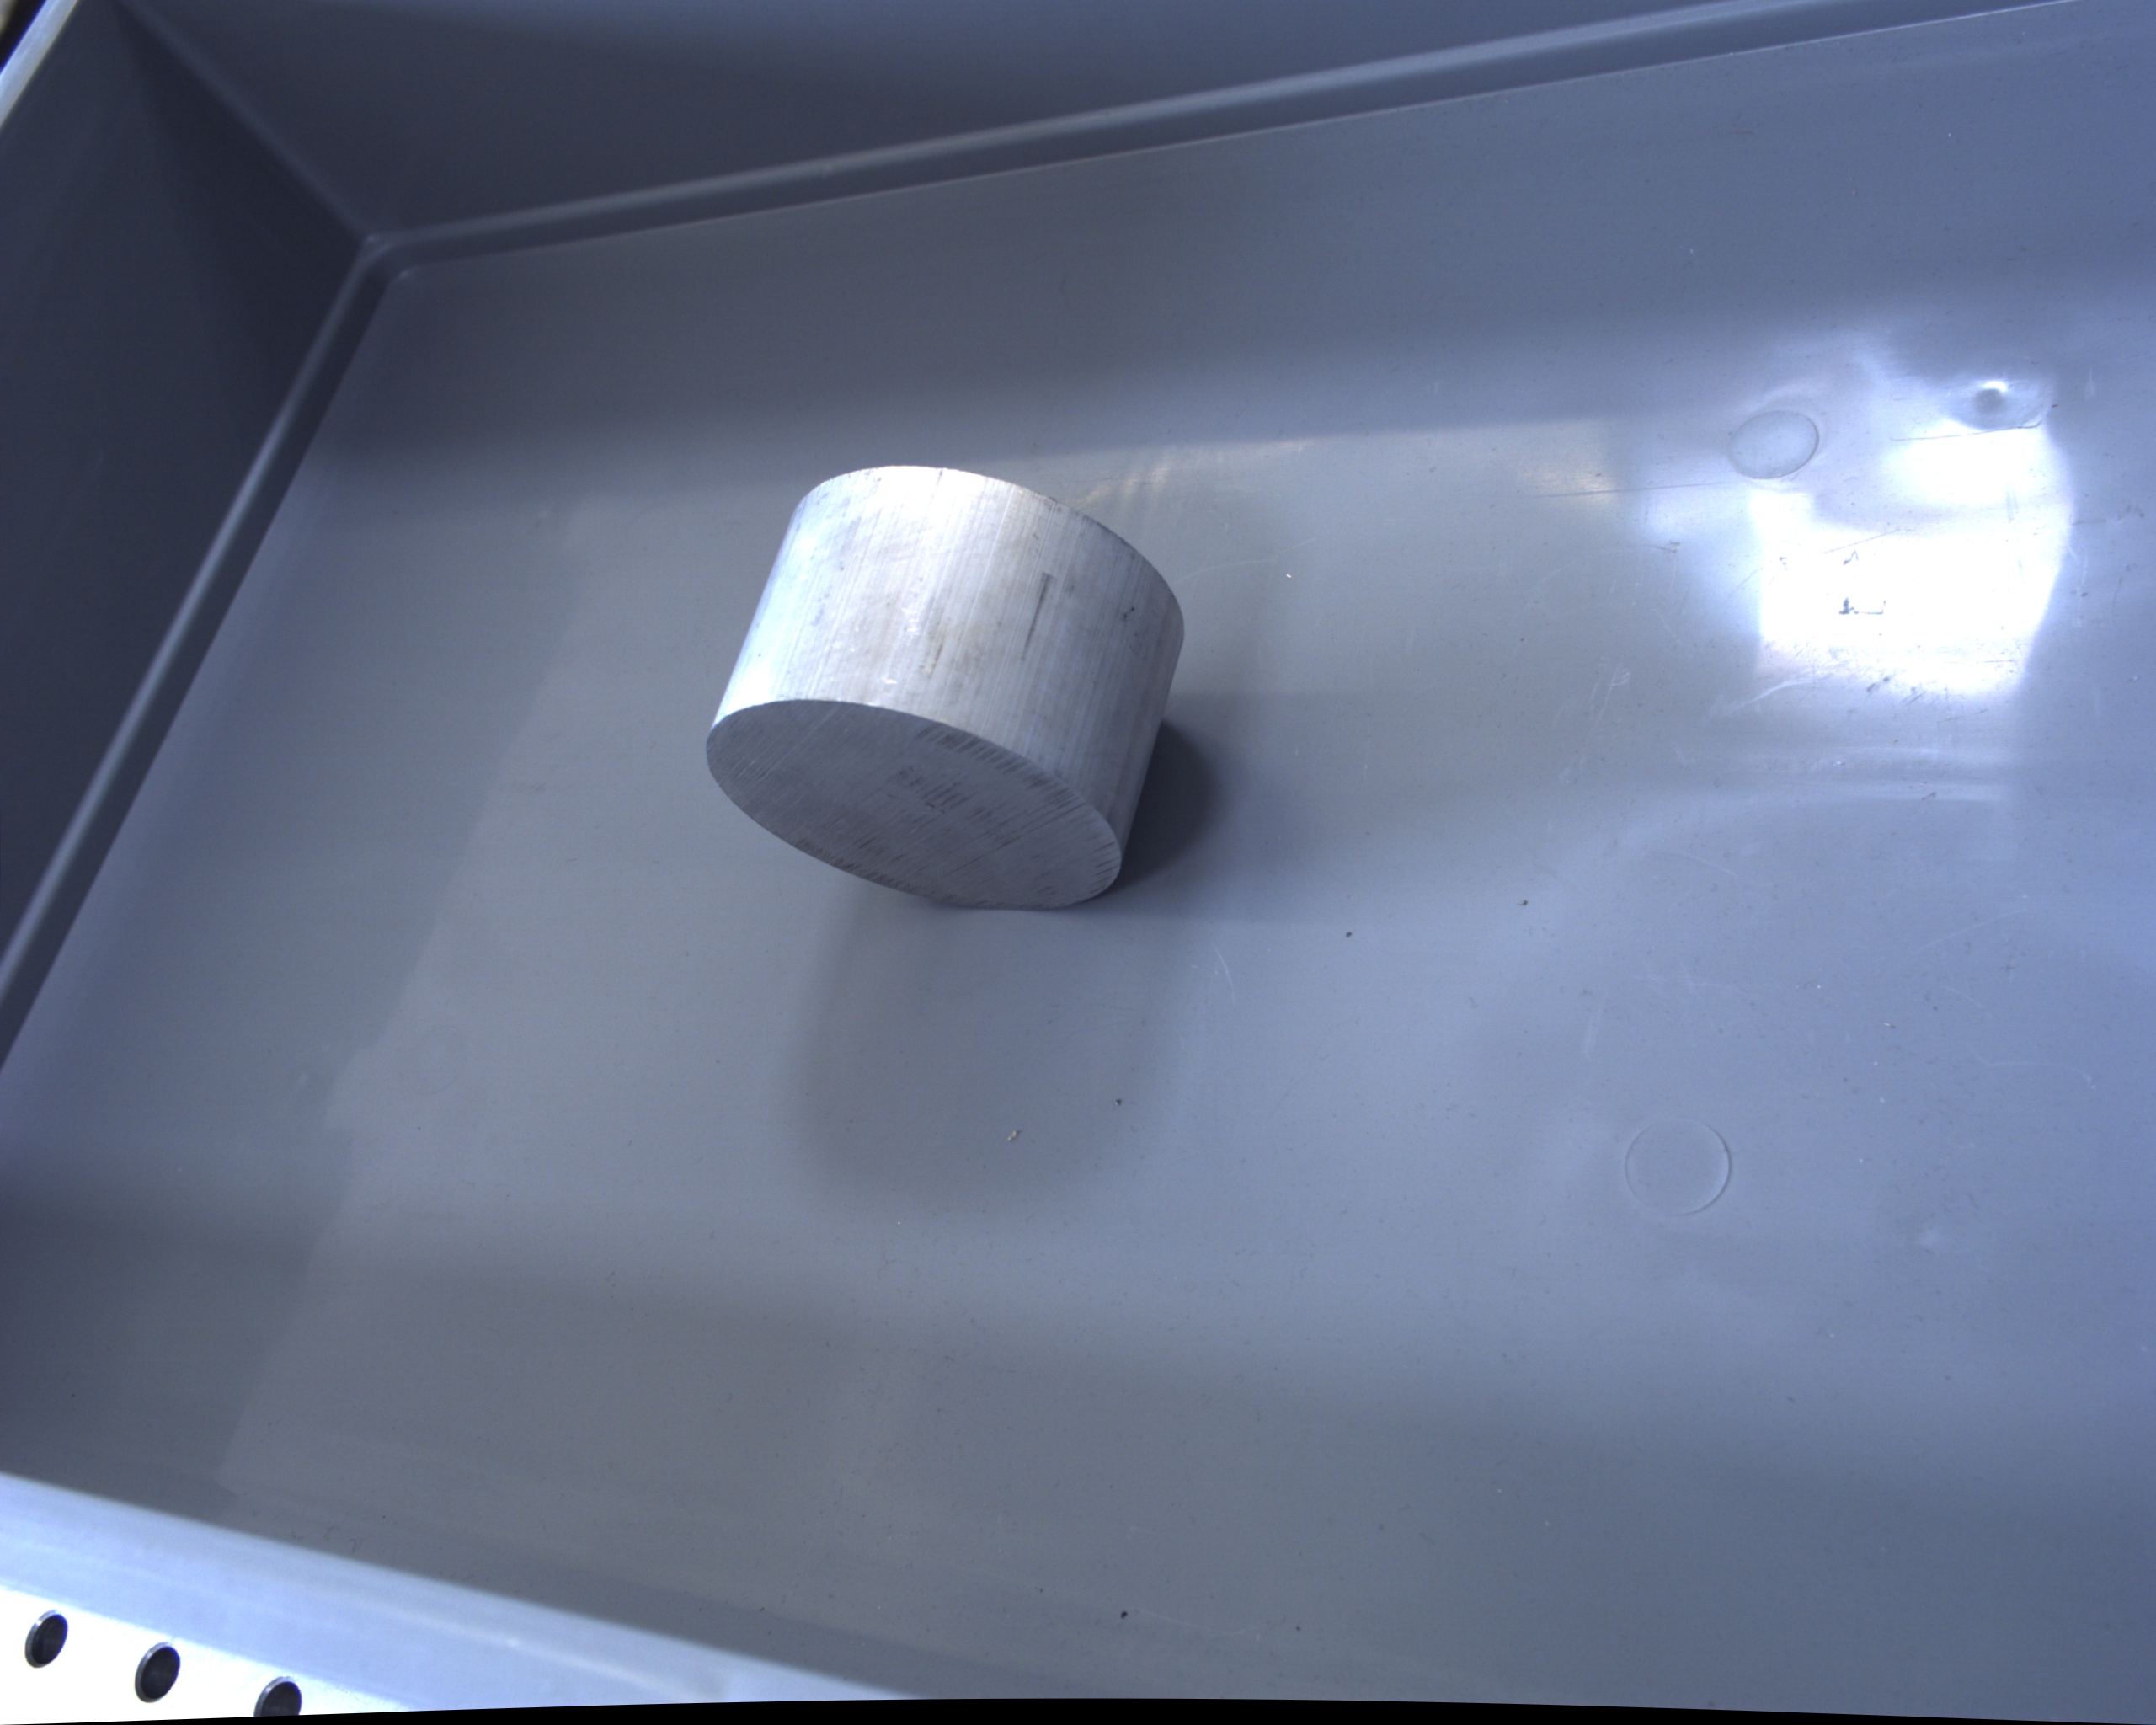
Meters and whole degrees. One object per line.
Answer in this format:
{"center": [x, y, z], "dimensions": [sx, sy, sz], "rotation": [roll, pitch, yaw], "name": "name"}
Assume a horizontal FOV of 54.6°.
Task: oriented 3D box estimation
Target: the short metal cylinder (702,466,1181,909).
{"center": [-0.025, -0.031, 0.400], "dimensions": [0.080, 0.080, 0.050], "rotation": [2, 63, 29], "name": "short metal cylinder"}
